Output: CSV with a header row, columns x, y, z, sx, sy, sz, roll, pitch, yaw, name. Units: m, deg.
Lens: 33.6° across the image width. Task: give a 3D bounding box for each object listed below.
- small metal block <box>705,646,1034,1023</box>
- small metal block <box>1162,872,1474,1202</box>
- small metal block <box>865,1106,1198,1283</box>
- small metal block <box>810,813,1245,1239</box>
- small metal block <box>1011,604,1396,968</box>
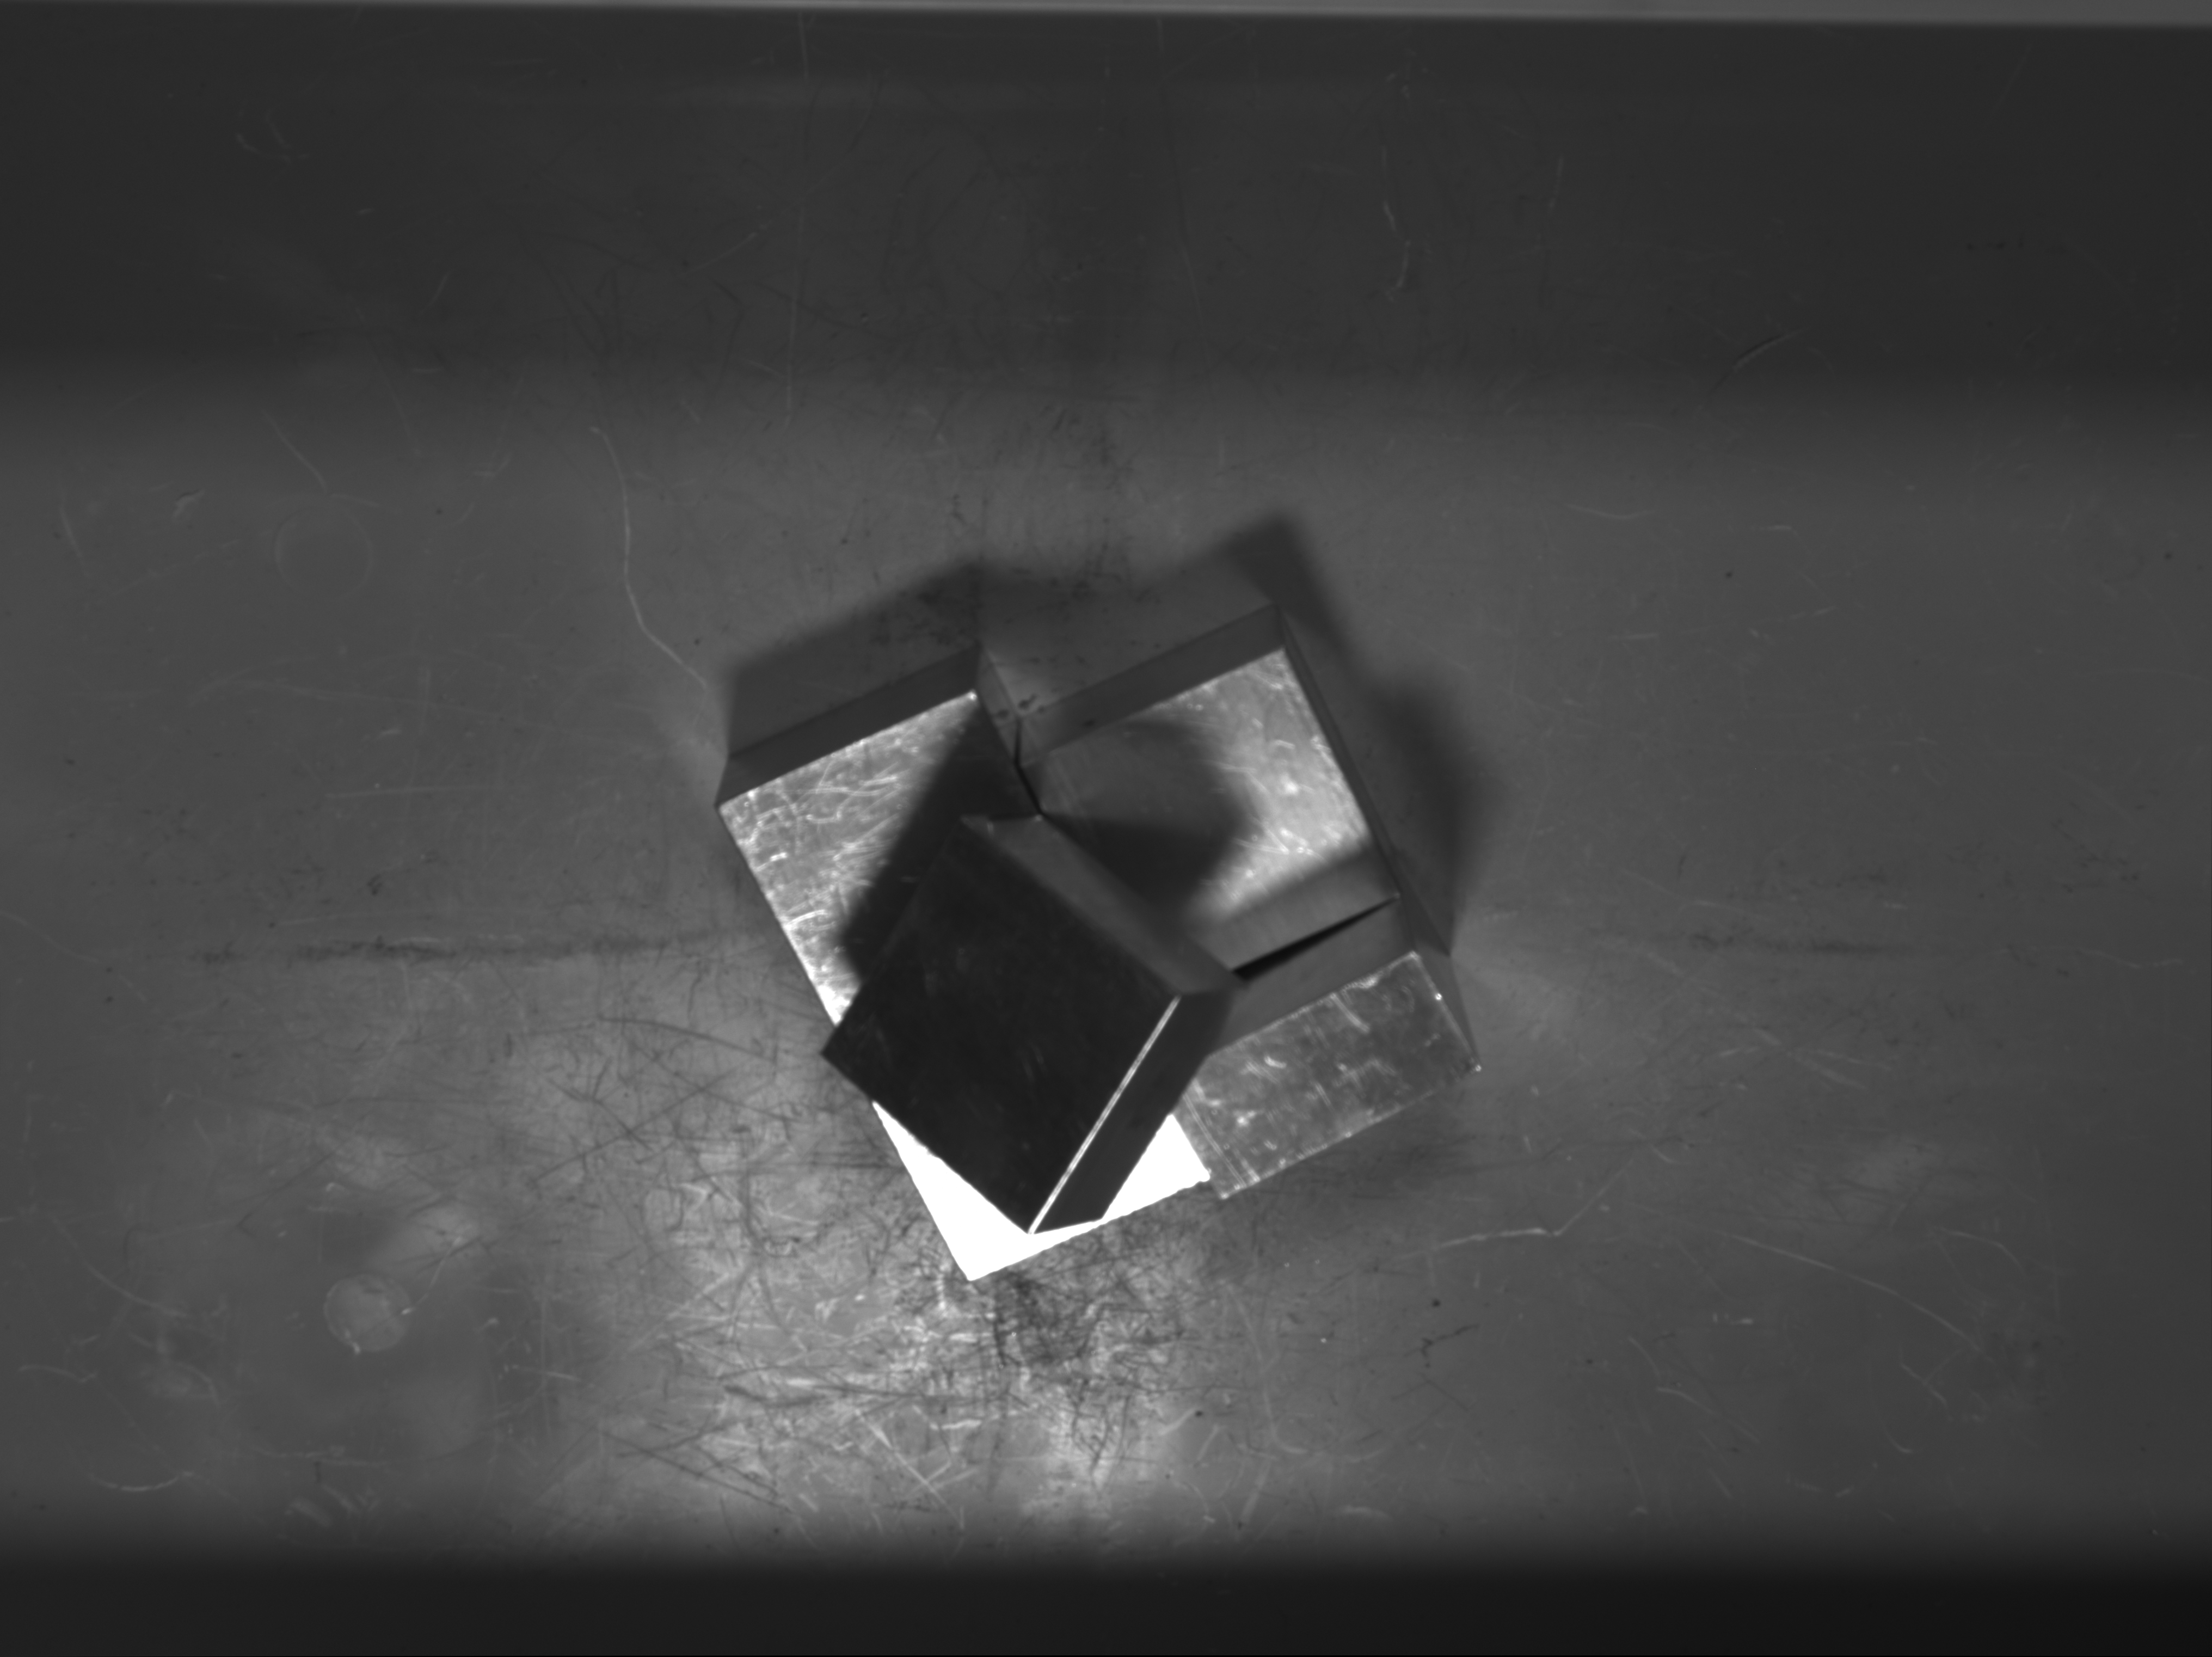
x,y,z,sx,sy,sz,roll,pitch,yaw,name
-0.035,0.003,0.643,0.050,0.025,0.050,-24,108,8,small metal block
0.034,0.034,0.641,0.050,0.050,0.025,-27,108,8,small metal block
-0.014,0.046,0.659,0.050,0.025,0.050,-24,108,8,small metal block
-0.014,0.032,0.614,0.050,0.025,0.050,39,108,23,small metal block
0.017,-0.004,0.641,0.050,0.025,0.050,-24,108,8,small metal block
